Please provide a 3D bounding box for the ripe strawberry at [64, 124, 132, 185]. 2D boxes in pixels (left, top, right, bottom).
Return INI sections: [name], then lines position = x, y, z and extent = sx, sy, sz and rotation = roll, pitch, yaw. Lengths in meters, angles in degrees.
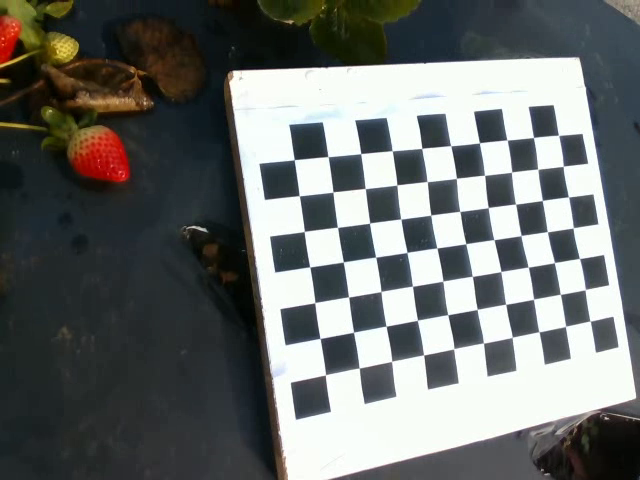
[ripe strawberry]
position = -0.130, -0.049, 0.374
extent = 0.035, 0.043, 0.029
rotation = -47, 7, -18
